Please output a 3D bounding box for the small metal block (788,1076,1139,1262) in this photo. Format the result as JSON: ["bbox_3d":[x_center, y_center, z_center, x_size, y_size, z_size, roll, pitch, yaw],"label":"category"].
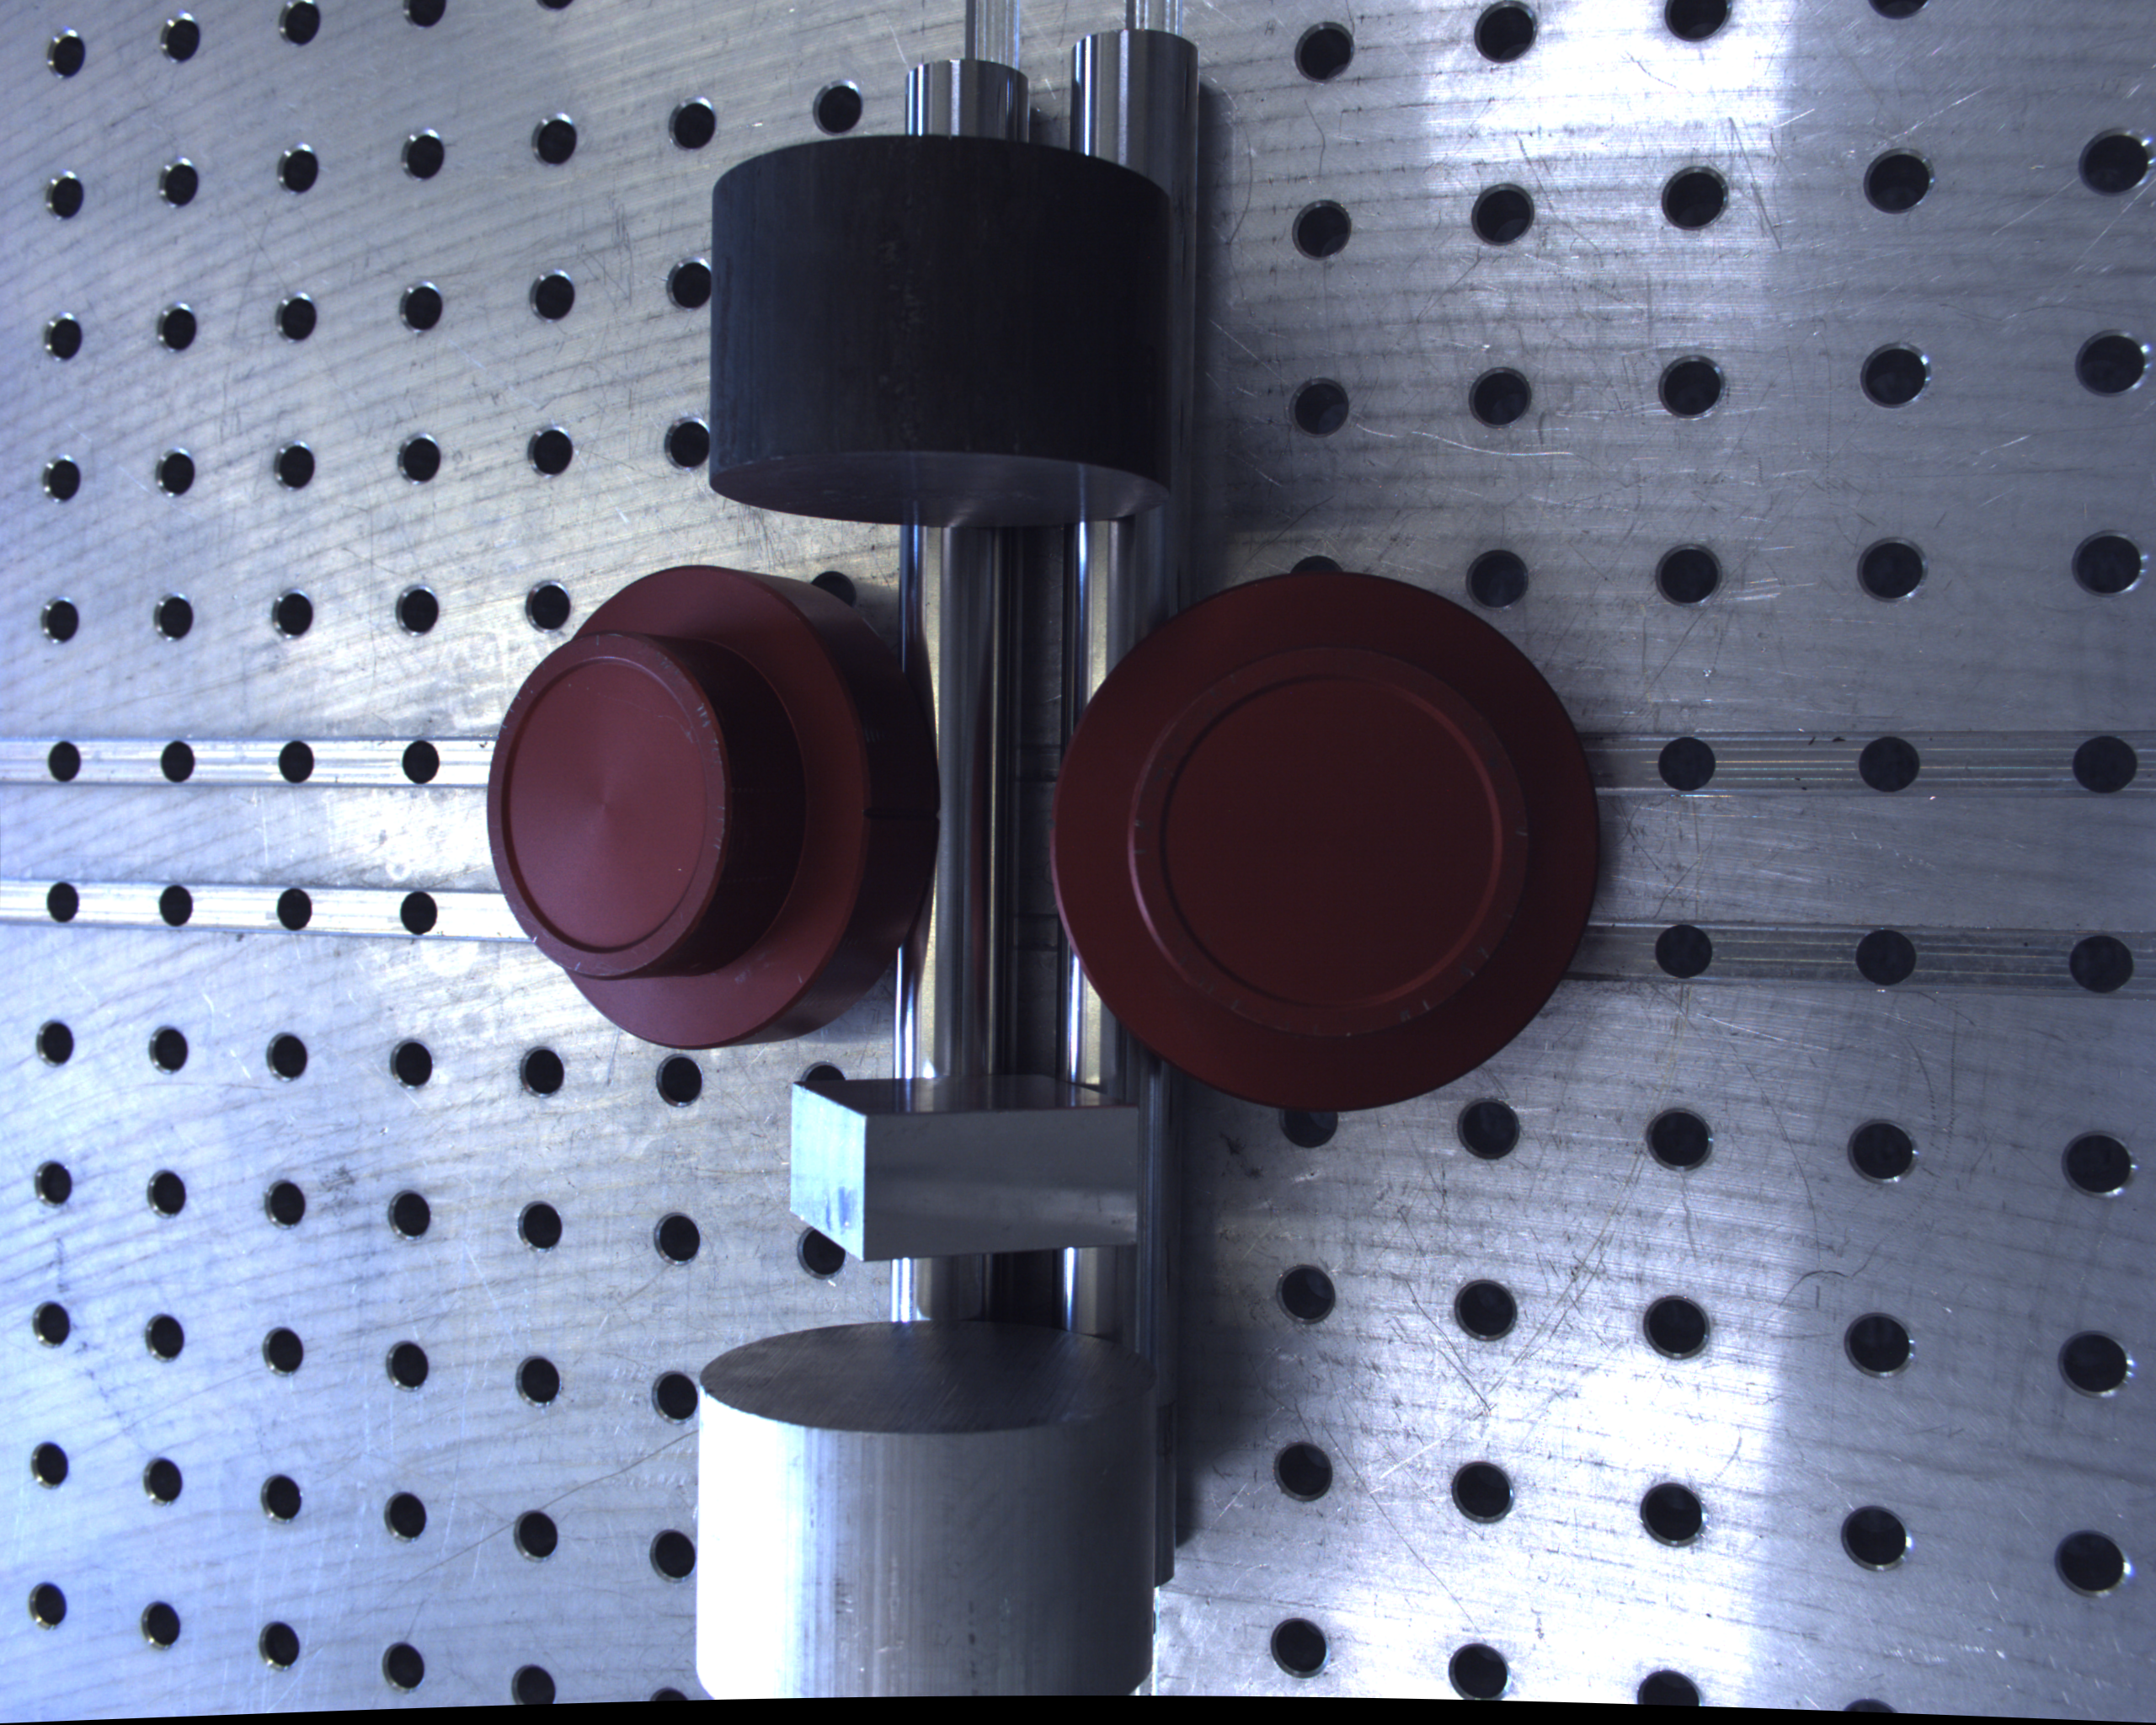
[{"bbox_3d":[-0.022,0.055,0.382,0.050,0.050,0.025,1,90,-22],"label":"small metal block"}]

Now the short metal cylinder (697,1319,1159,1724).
[{"bbox_3d":[-0.026,0.115,0.370,0.080,0.080,0.050,1,91,20],"label":"short metal cylinder"}]

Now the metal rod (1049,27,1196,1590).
[{"bbox_3d":[0.009,-0.009,0.409,0.025,0.025,0.298,1,90,20],"label":"metal rod"}]

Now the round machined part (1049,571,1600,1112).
[{"bbox_3d":[0.044,-0.004,0.374,0.099,0.042,0.097,0,90,5],"label":"round machined part"}]

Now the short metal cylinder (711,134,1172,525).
[{"bbox_3d":[-0.024,-0.090,0.368,0.080,0.080,0.050,1,91,20],"label":"short metal cylinder"}]

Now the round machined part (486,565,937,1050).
[{"bbox_3d":[-0.080,-0.011,0.418,0.098,0.042,0.097,0,90,34],"label":"round machined part"}]

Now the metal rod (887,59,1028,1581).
[{"bbox_3d":[-0.025,-0.008,0.420,0.025,0.025,0.298,1,90,20],"label":"metal rod"}]
